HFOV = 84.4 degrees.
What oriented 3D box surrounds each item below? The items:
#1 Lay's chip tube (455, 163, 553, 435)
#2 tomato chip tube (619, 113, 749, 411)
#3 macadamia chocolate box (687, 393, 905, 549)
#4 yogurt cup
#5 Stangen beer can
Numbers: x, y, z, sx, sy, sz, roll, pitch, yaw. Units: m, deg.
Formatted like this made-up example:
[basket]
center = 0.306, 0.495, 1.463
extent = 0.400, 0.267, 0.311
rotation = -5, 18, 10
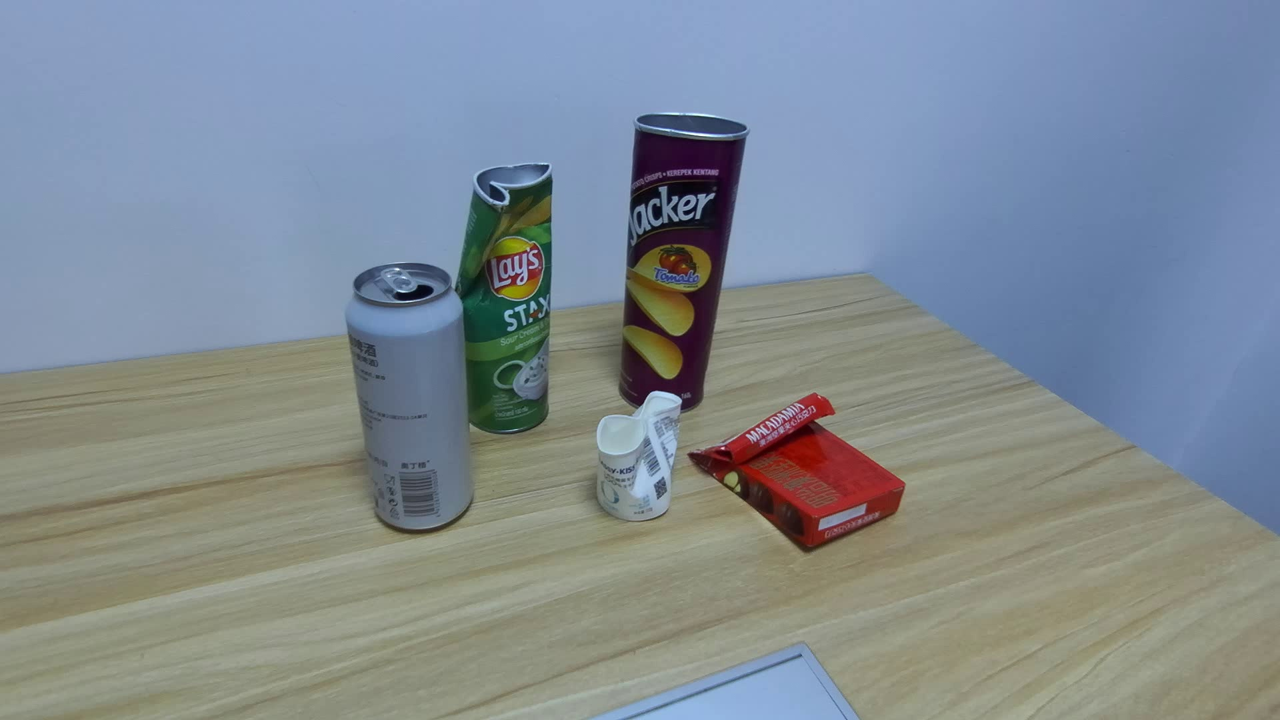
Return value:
[Lay's chip tube]
center = -0.102, -0.044, 0.542
extent = 0.069, 0.201, 0.077
rotation = 1, 34, -8
[tomato chip tube]
center = 0.030, -0.072, 0.573
extent = 0.080, 0.234, 0.077
rotation = 22, 34, 26
[macadamia chocolate box]
center = 0.116, 0.081, 0.529
extent = 0.112, 0.056, 0.126
rotation = -25, 44, -19
[yogurt cup]
center = -0.001, 0.069, 0.492
extent = 0.053, 0.071, 0.075
rotation = 9, 33, 4
[Stangen beer can]
center = -0.143, 0.027, 0.450
extent = 0.067, 0.171, 0.067
rotation = 3, 30, -2
